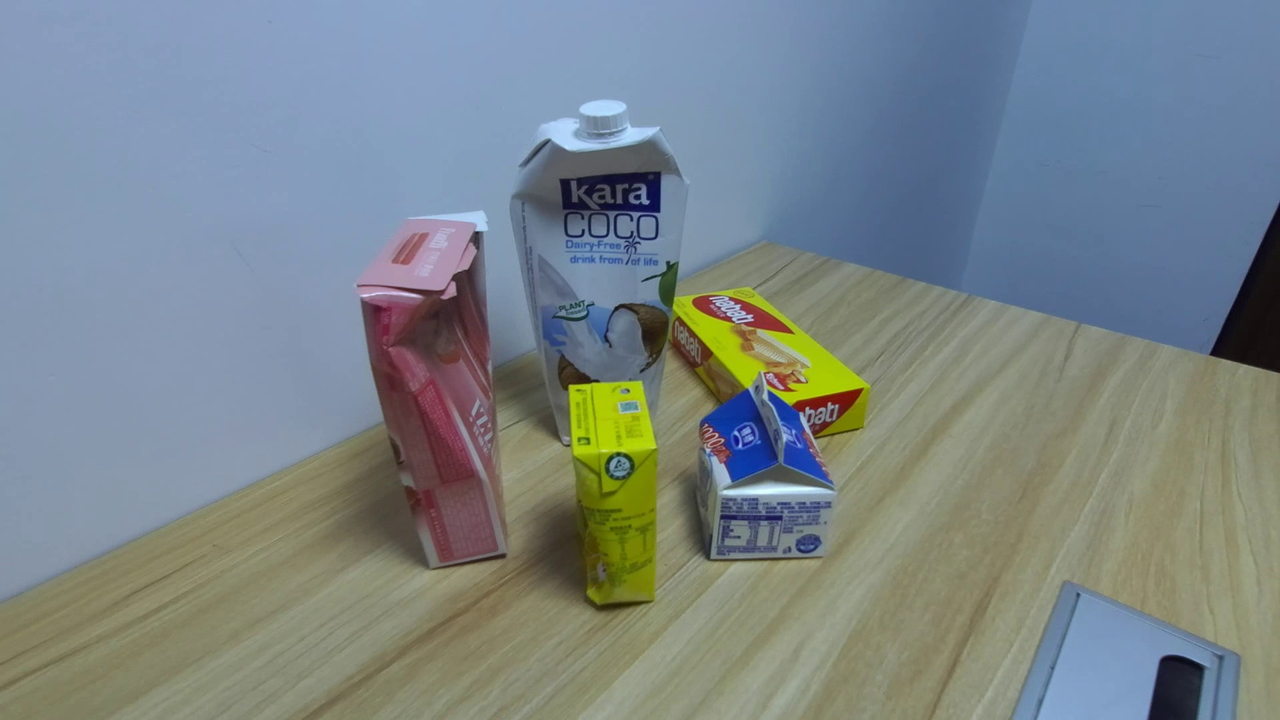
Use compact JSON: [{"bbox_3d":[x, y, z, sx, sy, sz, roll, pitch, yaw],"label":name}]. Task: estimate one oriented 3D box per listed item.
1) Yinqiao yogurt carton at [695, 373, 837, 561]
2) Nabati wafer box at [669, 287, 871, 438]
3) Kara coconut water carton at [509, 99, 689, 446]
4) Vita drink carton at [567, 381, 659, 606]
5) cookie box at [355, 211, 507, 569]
[{"bbox_3d":[0.075,0.062,0.427,0.074,0.092,0.075,0,30,-3],"label":"Yinqiao yogurt carton"},{"bbox_3d":[0.098,-0.003,0.600,0.093,0.042,0.202,-8,30,-18],"label":"Nabati wafer box"},{"bbox_3d":[-0.027,-0.054,0.489,0.115,0.239,0.069,-3,31,-7],"label":"Kara coconut water carton"},{"bbox_3d":[-0.015,0.076,0.387,0.043,0.109,0.076,-3,30,-6],"label":"Vita drink carton"},{"bbox_3d":[-0.109,0.022,0.407,0.055,0.184,0.118,-2,29,-6],"label":"cookie box"}]
